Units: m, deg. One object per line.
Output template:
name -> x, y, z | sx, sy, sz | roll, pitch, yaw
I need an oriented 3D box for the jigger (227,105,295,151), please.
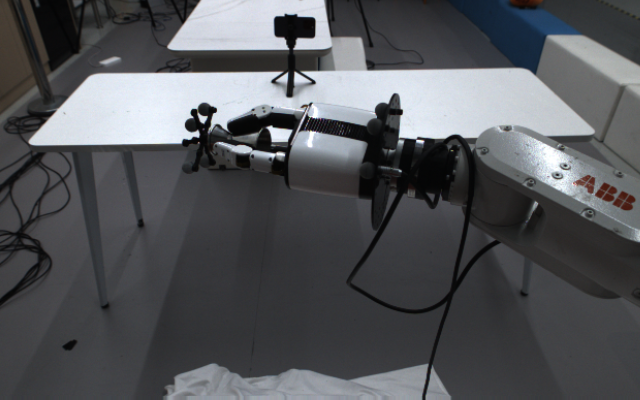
jigger -> -0.094, -0.074, 0.605 | 0.071, 0.043, 0.043 | 8, 35, 17
